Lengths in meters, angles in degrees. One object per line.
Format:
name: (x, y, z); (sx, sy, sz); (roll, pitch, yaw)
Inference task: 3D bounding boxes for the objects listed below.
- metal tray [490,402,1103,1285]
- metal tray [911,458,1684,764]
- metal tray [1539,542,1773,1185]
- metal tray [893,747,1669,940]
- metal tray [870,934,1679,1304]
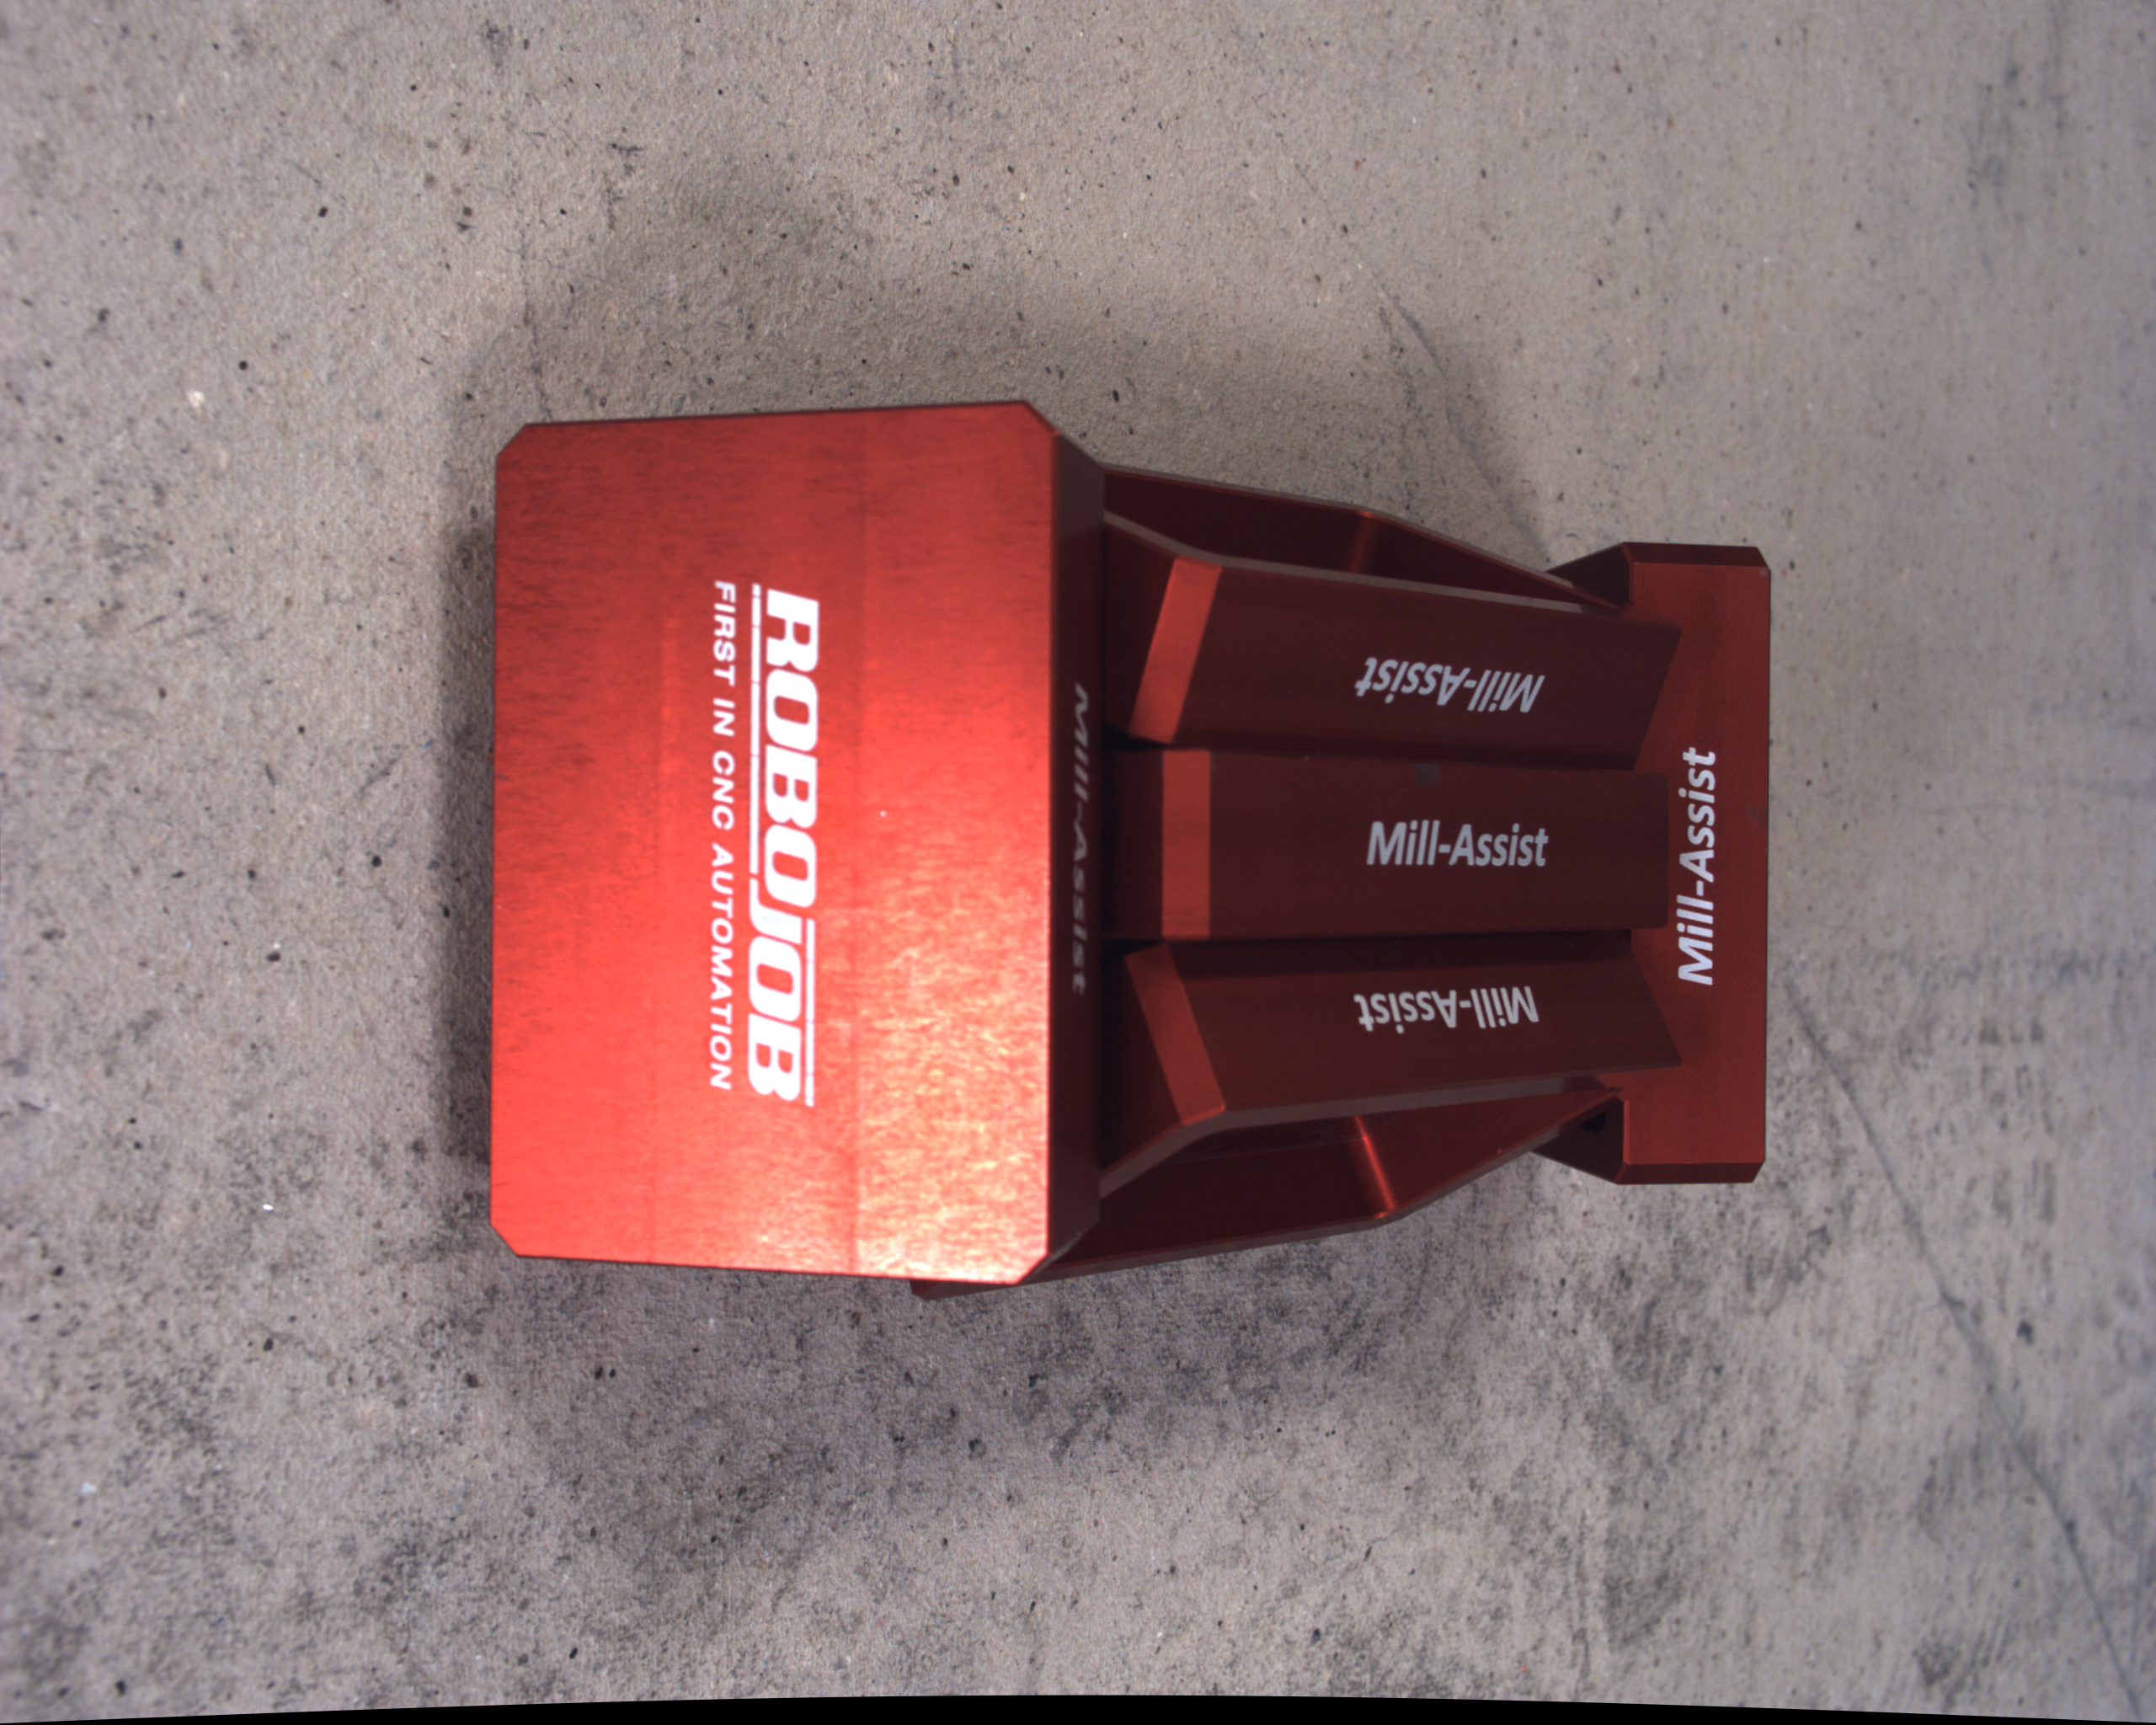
metal tray: (-0.044, -0.003, 0.328); (0.030, 0.090, 0.129); (1, 90, -77)
metal tray: (0.038, -0.049, 0.392); (0.131, 0.090, 0.030); (0, 112, -40)
metal tray: (0.118, 0.000, 0.461); (0.030, 0.090, 0.129); (1, 90, -8)
metal tray: (0.038, -0.003, 0.394); (0.131, 0.090, 0.030); (0, 90, -40)
metal tray: (0.039, 0.047, 0.395); (0.131, 0.090, 0.030); (1, 61, -40)
